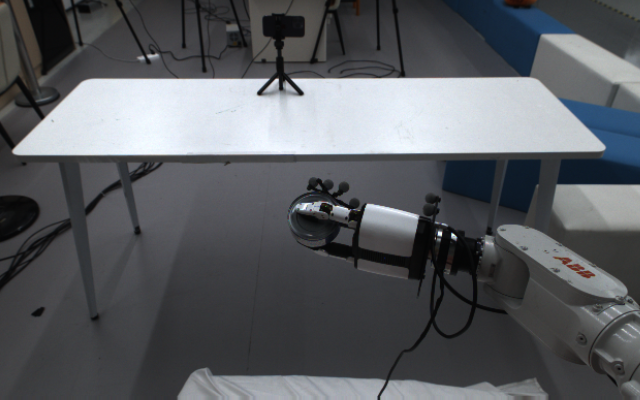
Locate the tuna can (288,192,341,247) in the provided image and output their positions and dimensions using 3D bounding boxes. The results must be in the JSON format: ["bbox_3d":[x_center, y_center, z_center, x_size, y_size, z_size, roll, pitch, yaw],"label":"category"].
[{"bbox_3d":[-0.008,0.031,0.777,0.085,0.034,0.085,-2,60,3],"label":"tuna can"}]
